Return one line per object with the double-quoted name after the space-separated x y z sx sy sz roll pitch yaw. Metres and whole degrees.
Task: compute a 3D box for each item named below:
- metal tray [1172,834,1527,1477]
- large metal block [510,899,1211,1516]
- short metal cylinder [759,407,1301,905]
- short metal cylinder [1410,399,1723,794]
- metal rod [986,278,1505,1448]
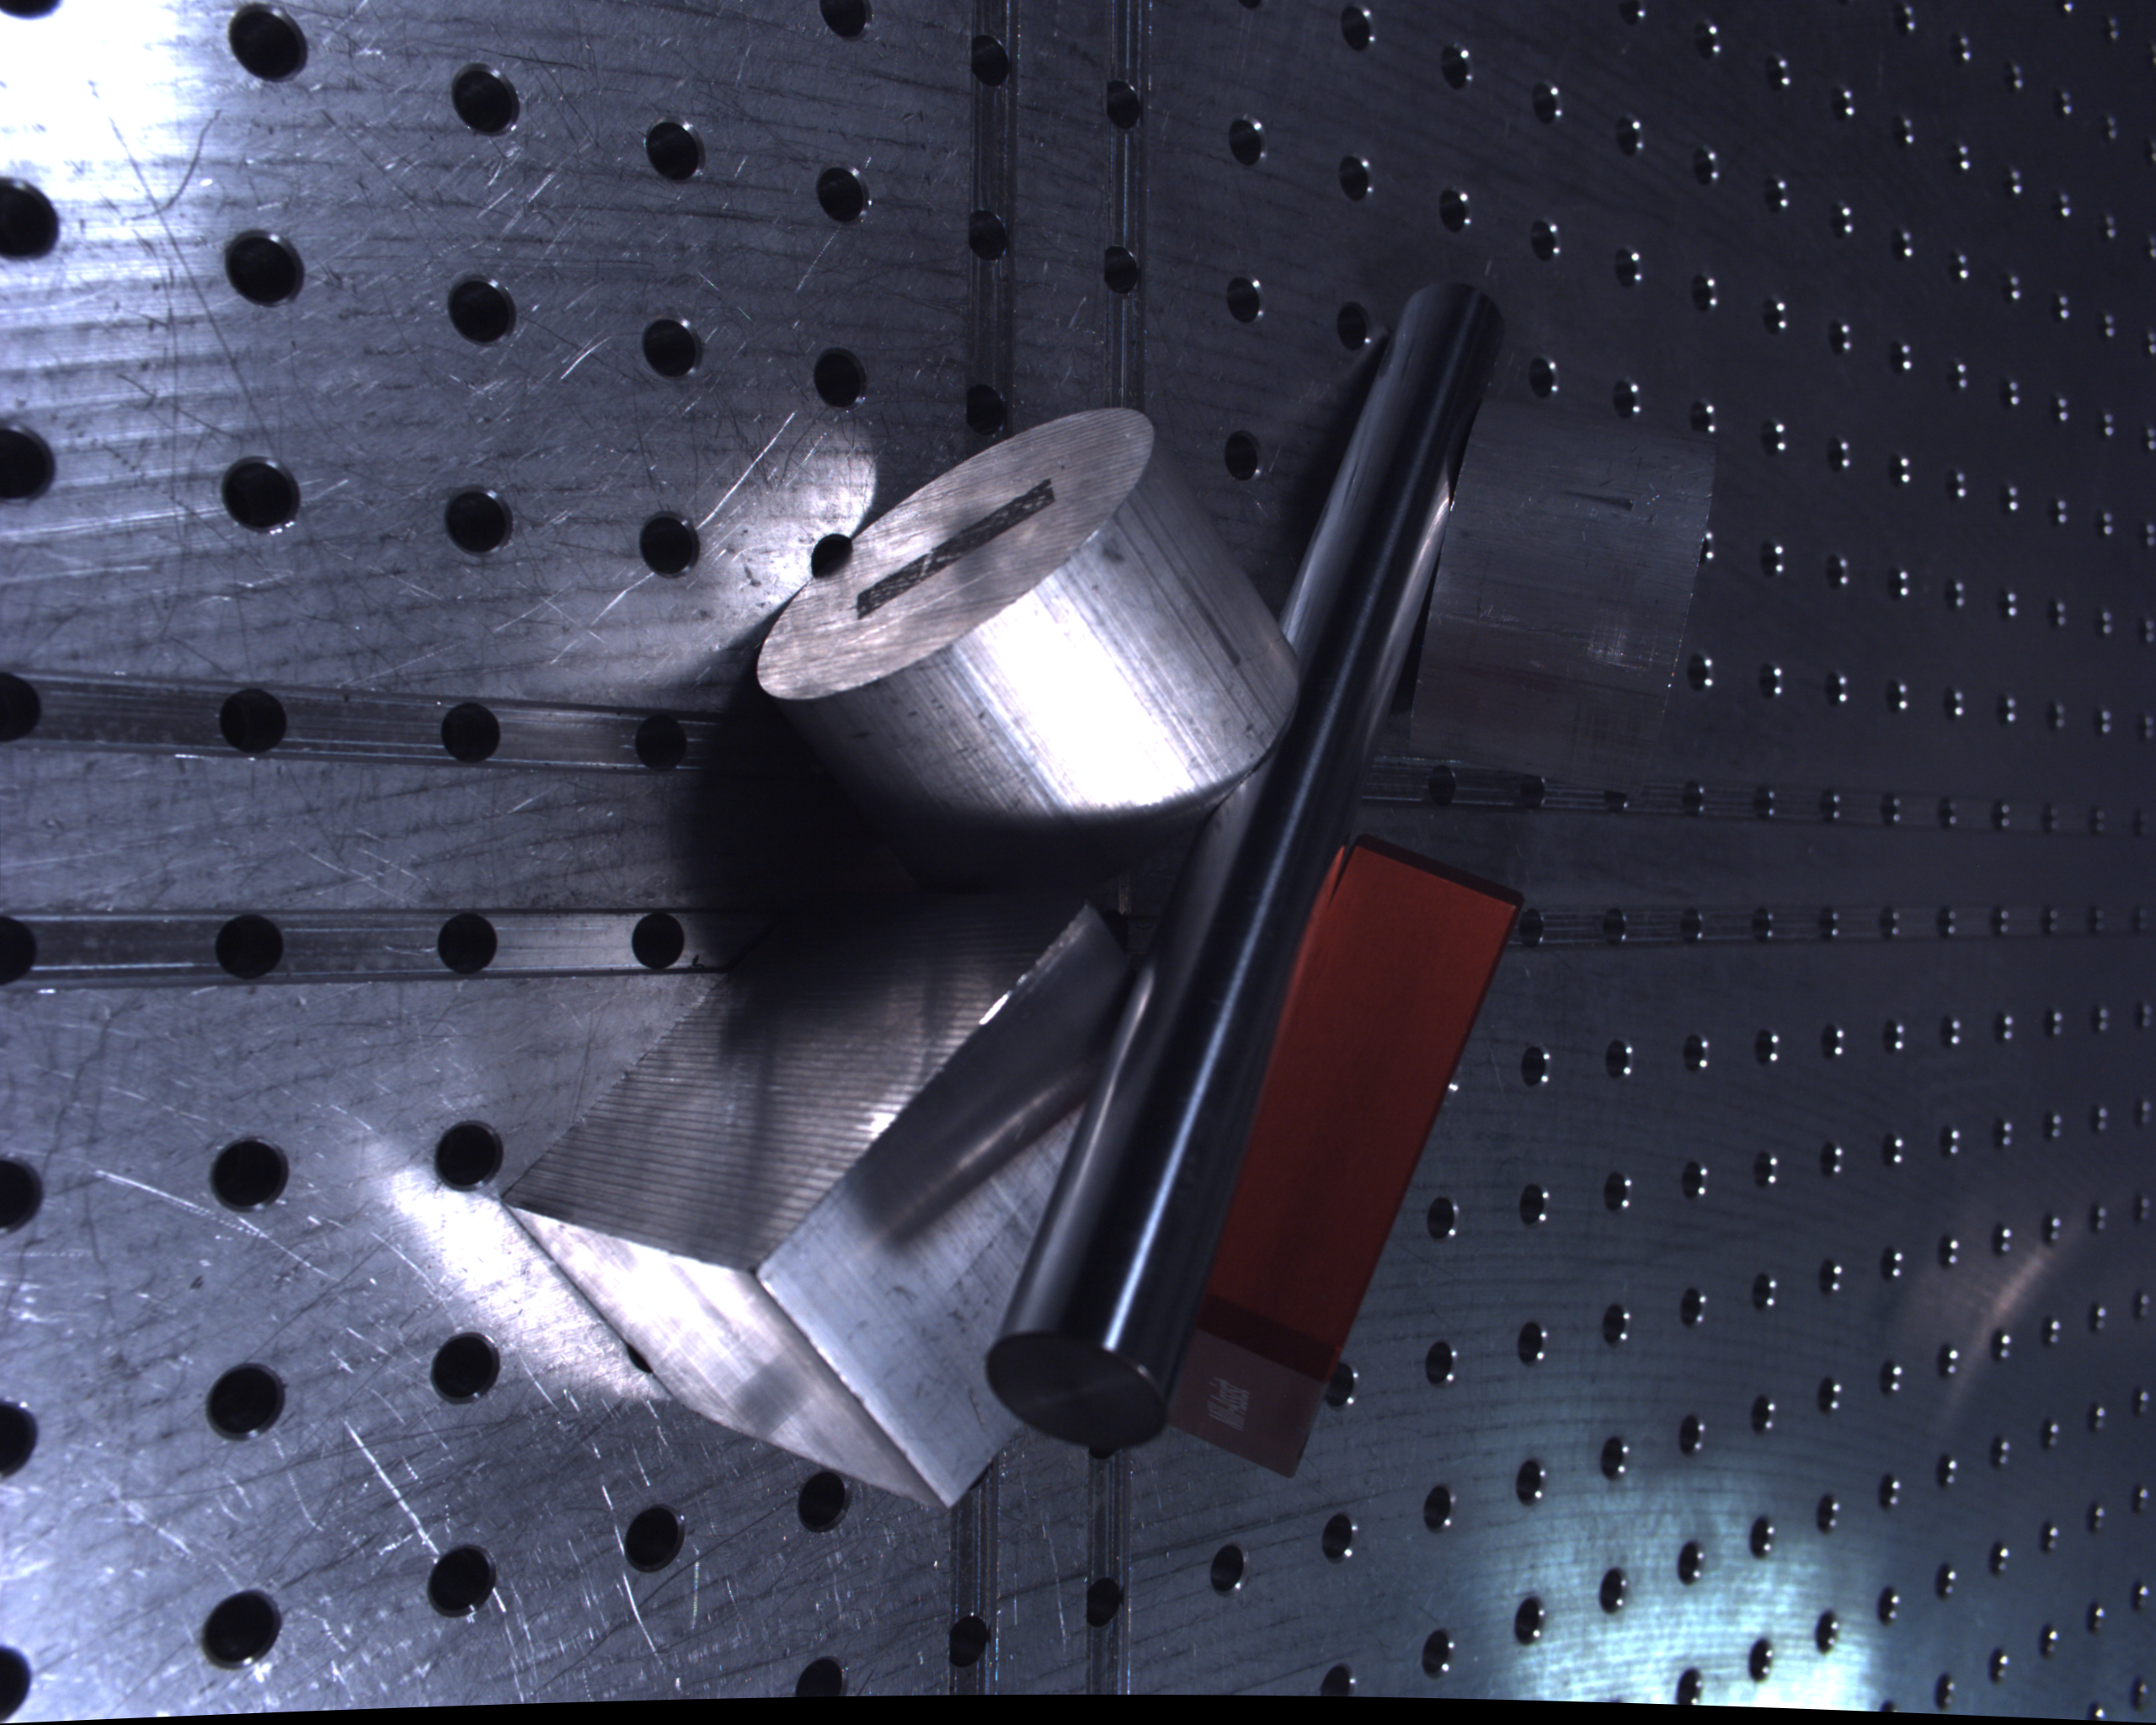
0.047 0.061 0.396 0.130 0.030 0.090 83 31 -67 "metal tray"
-0.033 0.052 0.347 0.080 0.080 0.050 -47 119 -30 "large metal block"
-0.008 -0.036 0.368 0.080 0.080 0.050 -51 121 -28 "short metal cylinder"
0.107 -0.058 0.459 0.080 0.050 0.080 12 91 -78 "short metal cylinder"
0.043 -0.028 0.378 0.025 0.025 0.301 54 37 -26 "metal rod"
